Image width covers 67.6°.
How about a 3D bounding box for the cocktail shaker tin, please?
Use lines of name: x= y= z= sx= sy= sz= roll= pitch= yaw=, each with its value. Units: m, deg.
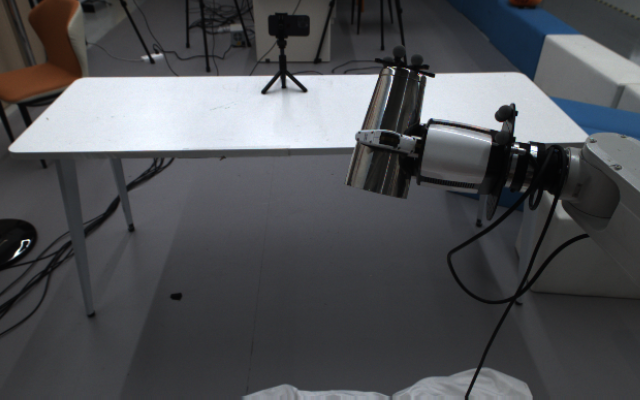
cocktail shaker tin: x=0.099 y=-0.095 z=0.685 sx=0.093 sy=0.170 sz=0.093 roll=13 pitch=4 yaw=-1
